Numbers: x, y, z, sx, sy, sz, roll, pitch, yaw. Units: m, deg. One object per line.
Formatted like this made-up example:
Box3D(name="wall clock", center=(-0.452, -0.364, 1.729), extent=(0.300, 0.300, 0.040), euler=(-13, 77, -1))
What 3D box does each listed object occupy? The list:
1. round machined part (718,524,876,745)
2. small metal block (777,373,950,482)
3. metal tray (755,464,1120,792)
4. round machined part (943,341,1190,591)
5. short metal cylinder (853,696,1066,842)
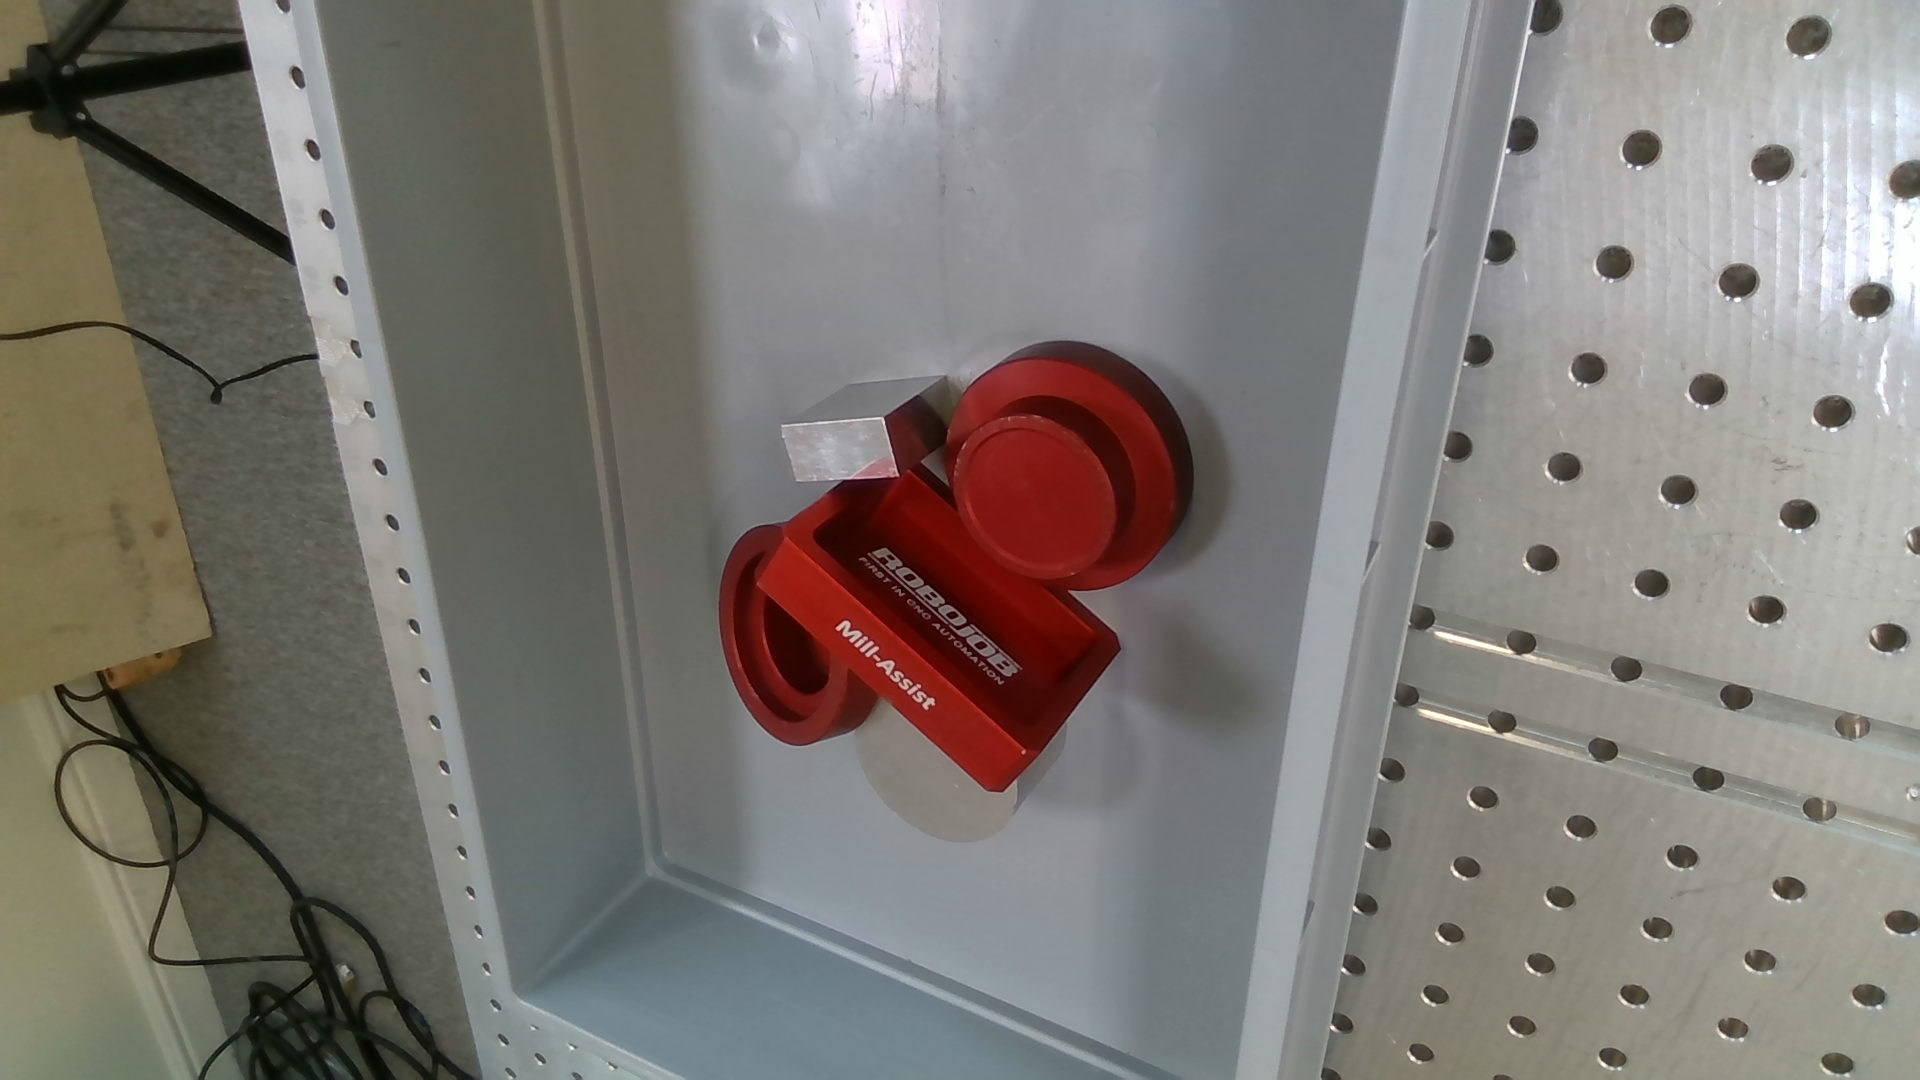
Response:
Box3D(name="round machined part", center=(-0.064, 0.039, 0.614), extent=(0.098, 0.042, 0.098), euler=(14, 109, 47))
Box3D(name="small metal block", center=(-0.037, -0.046, 0.559), extent=(0.050, 0.050, 0.025), euler=(-1, 114, 32))
Box3D(name="metal tray", center=(-0.007, 0.028, 0.556), extent=(0.130, 0.090, 0.030), euler=(42, 129, 5))
Box3D(name="round machined part", center=(0.036, -0.024, 0.532), extent=(0.098, 0.042, 0.098), euler=(14, 122, 25))
Box3D(name="short metal cylinder", center=(0.000, 0.086, 0.609), extent=(0.080, 0.050, 0.080), euler=(14, 122, 25))
